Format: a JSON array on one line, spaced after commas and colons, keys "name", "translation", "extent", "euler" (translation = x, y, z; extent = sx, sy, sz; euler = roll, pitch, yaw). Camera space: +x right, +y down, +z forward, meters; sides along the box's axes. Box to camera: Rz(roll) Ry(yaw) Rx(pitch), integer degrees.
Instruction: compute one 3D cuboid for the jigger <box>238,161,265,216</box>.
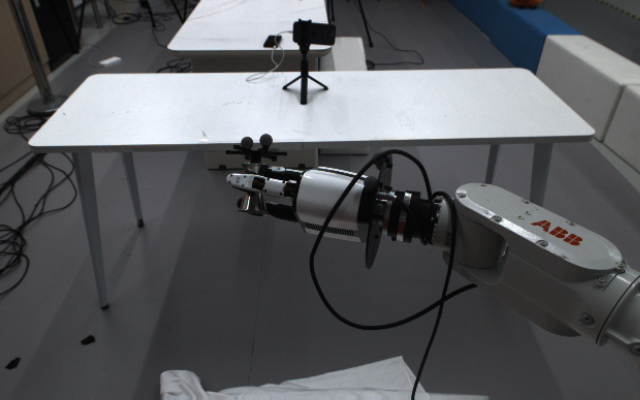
[{"name": "jigger", "translation": [-0.093, -0.016, 0.689], "extent": [0.043, 0.071, 0.043], "euler": [2, -6, 0]}]
